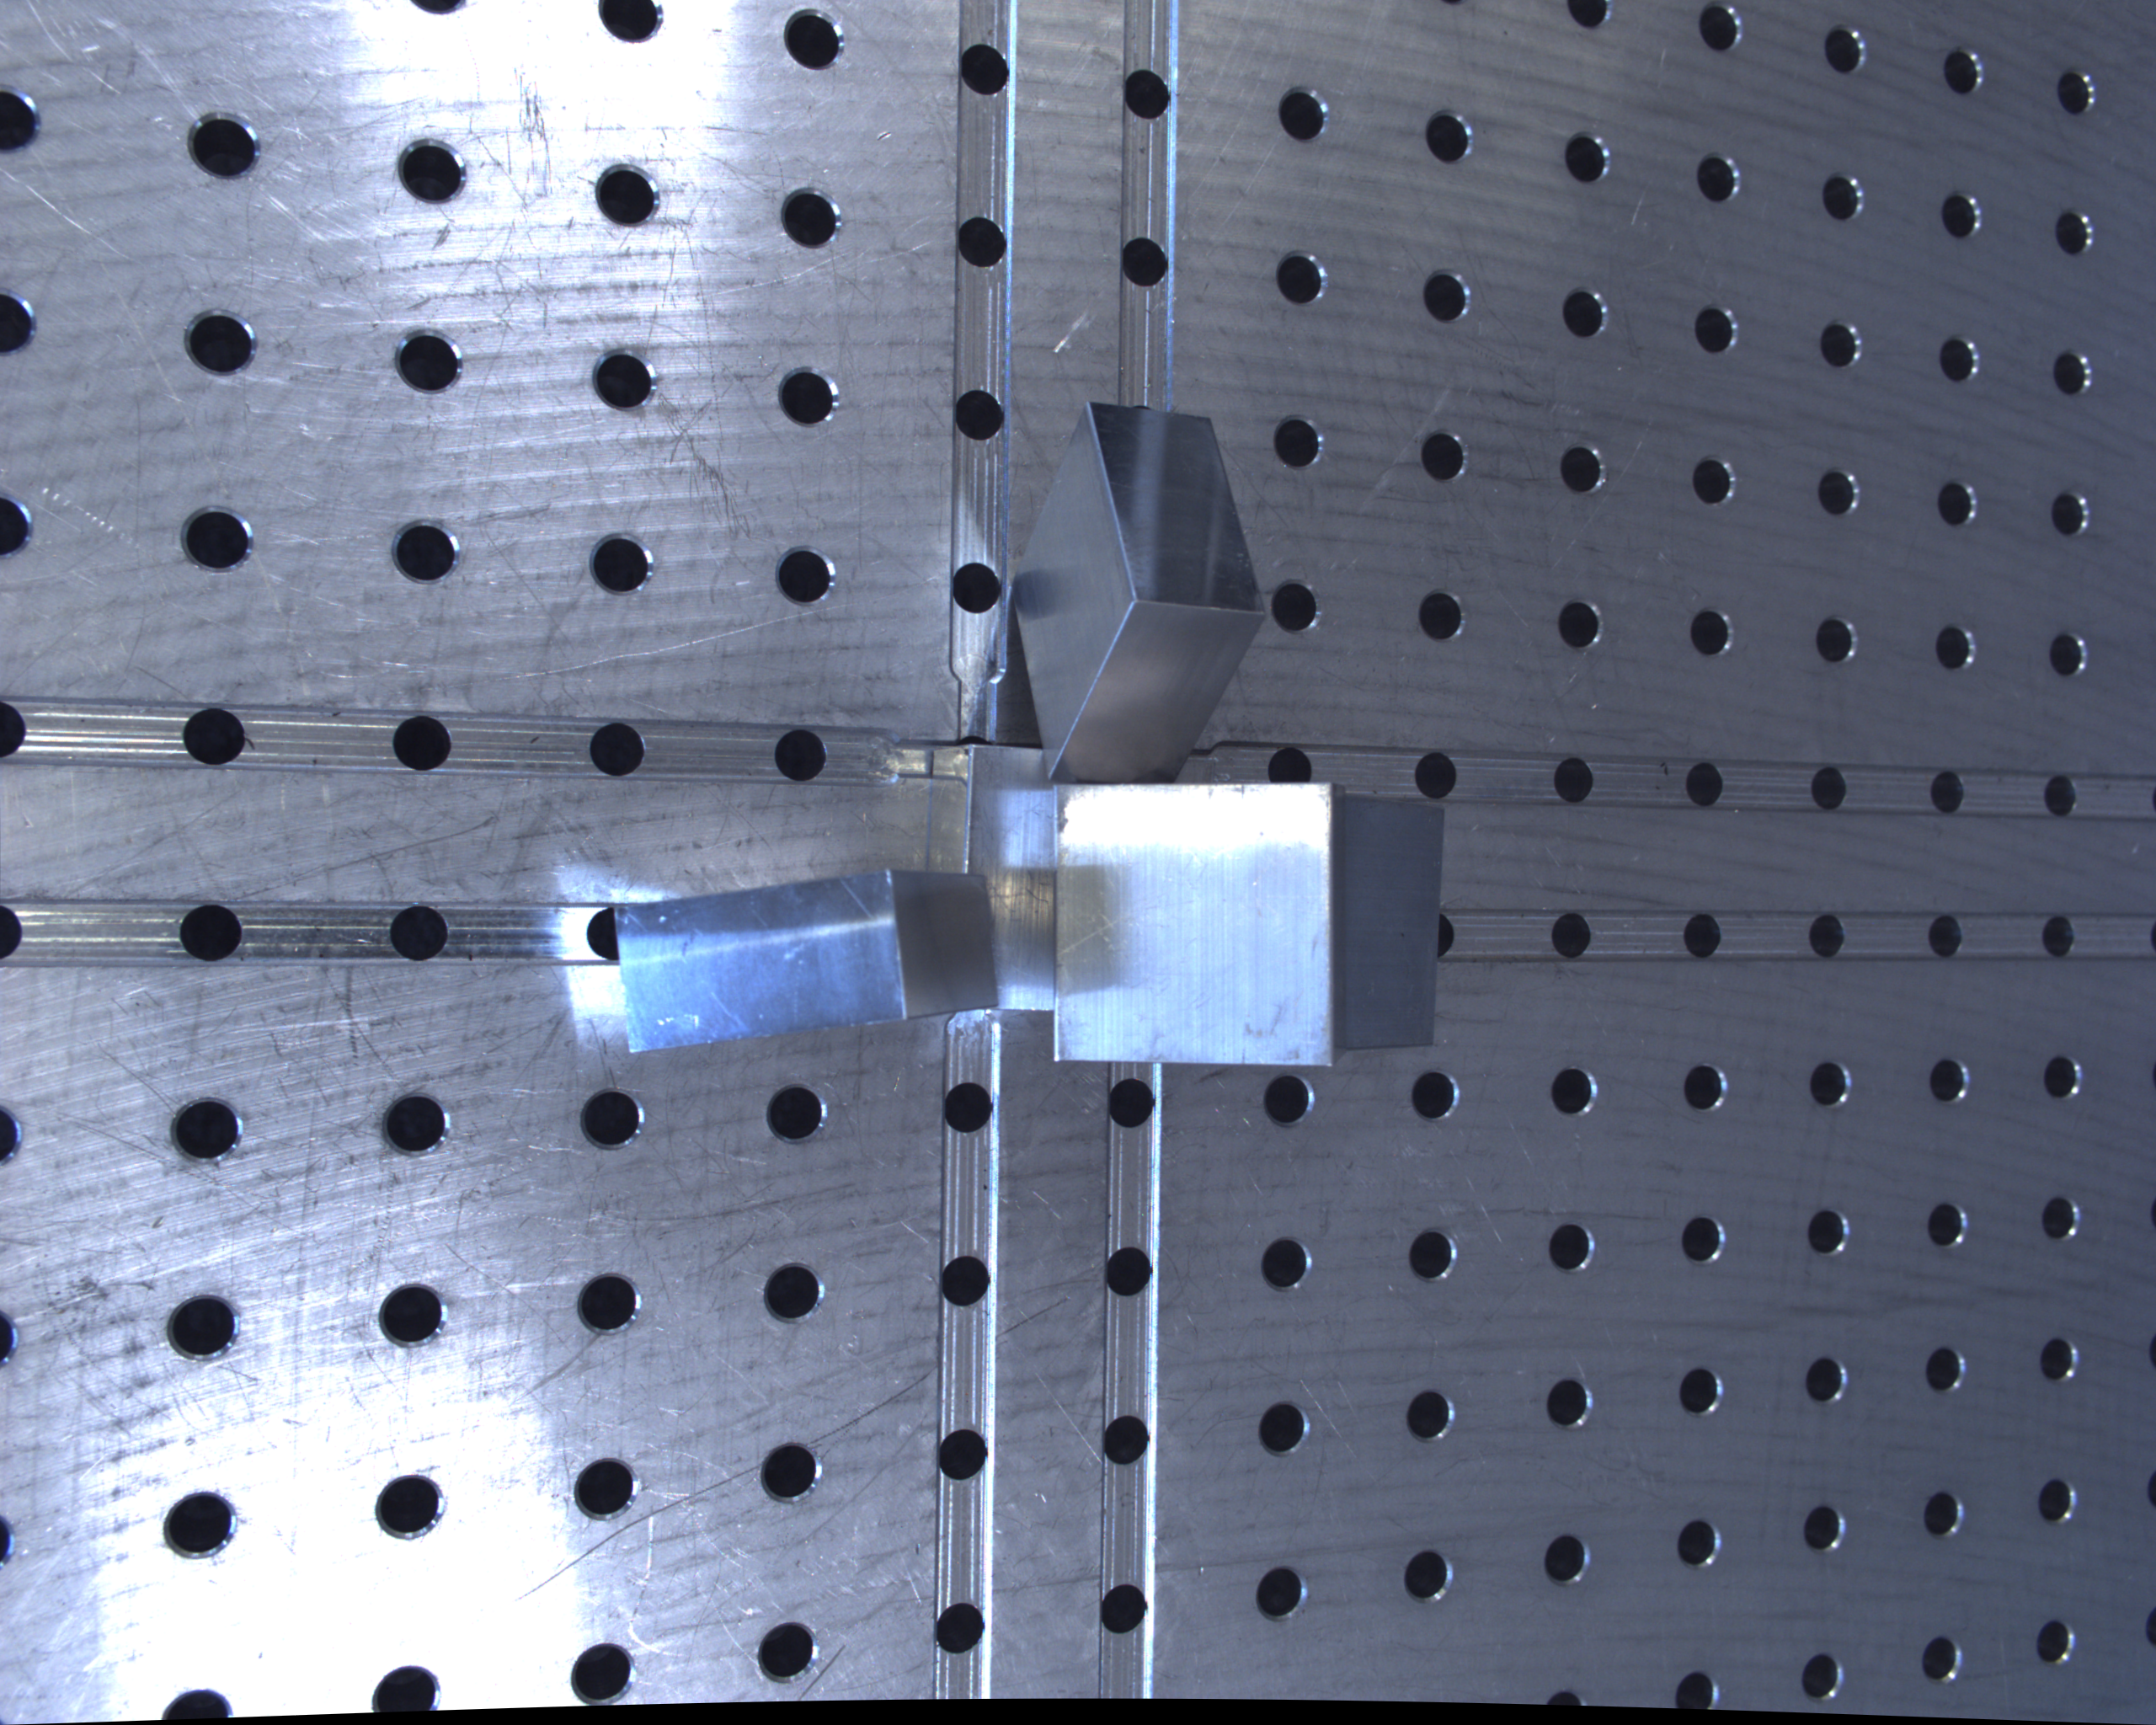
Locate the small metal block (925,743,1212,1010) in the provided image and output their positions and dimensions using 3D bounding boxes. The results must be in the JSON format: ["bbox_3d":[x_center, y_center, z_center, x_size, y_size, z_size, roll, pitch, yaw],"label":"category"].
[{"bbox_3d":[-0.003,0.003,0.412,0.050,0.025,0.050,3,89,-20],"label":"small metal block"}]

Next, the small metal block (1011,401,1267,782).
[{"bbox_3d":[0.010,-0.049,0.392,0.025,0.050,0.050,3,53,-19],"label":"small metal block"}]

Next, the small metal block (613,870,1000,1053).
[{"bbox_3d":[-0.047,0.017,0.371,0.050,0.050,0.025,-7,87,15],"label":"small metal block"}]

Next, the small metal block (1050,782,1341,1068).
[{"bbox_3d":[0.023,0.011,0.382,0.050,0.025,0.050,0,90,13],"label":"small metal block"}]

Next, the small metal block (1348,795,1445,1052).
[{"bbox_3d":[0.049,0.012,0.419,0.050,0.025,0.050,4,88,-51],"label":"small metal block"}]
